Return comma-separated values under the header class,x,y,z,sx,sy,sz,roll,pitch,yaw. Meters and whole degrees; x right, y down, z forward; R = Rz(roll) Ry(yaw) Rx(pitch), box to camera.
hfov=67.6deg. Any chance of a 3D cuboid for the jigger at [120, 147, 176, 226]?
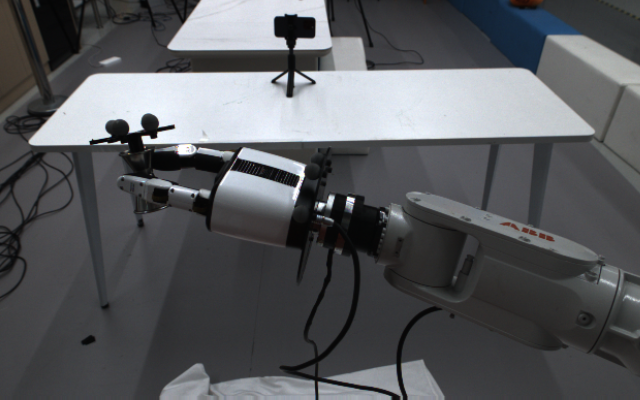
class,x,y,z,sx,sy,sz,roll,pitch,yaw
jigger,-0.194,-0.023,0.548,0.043,0.071,0.043,-10,16,3
